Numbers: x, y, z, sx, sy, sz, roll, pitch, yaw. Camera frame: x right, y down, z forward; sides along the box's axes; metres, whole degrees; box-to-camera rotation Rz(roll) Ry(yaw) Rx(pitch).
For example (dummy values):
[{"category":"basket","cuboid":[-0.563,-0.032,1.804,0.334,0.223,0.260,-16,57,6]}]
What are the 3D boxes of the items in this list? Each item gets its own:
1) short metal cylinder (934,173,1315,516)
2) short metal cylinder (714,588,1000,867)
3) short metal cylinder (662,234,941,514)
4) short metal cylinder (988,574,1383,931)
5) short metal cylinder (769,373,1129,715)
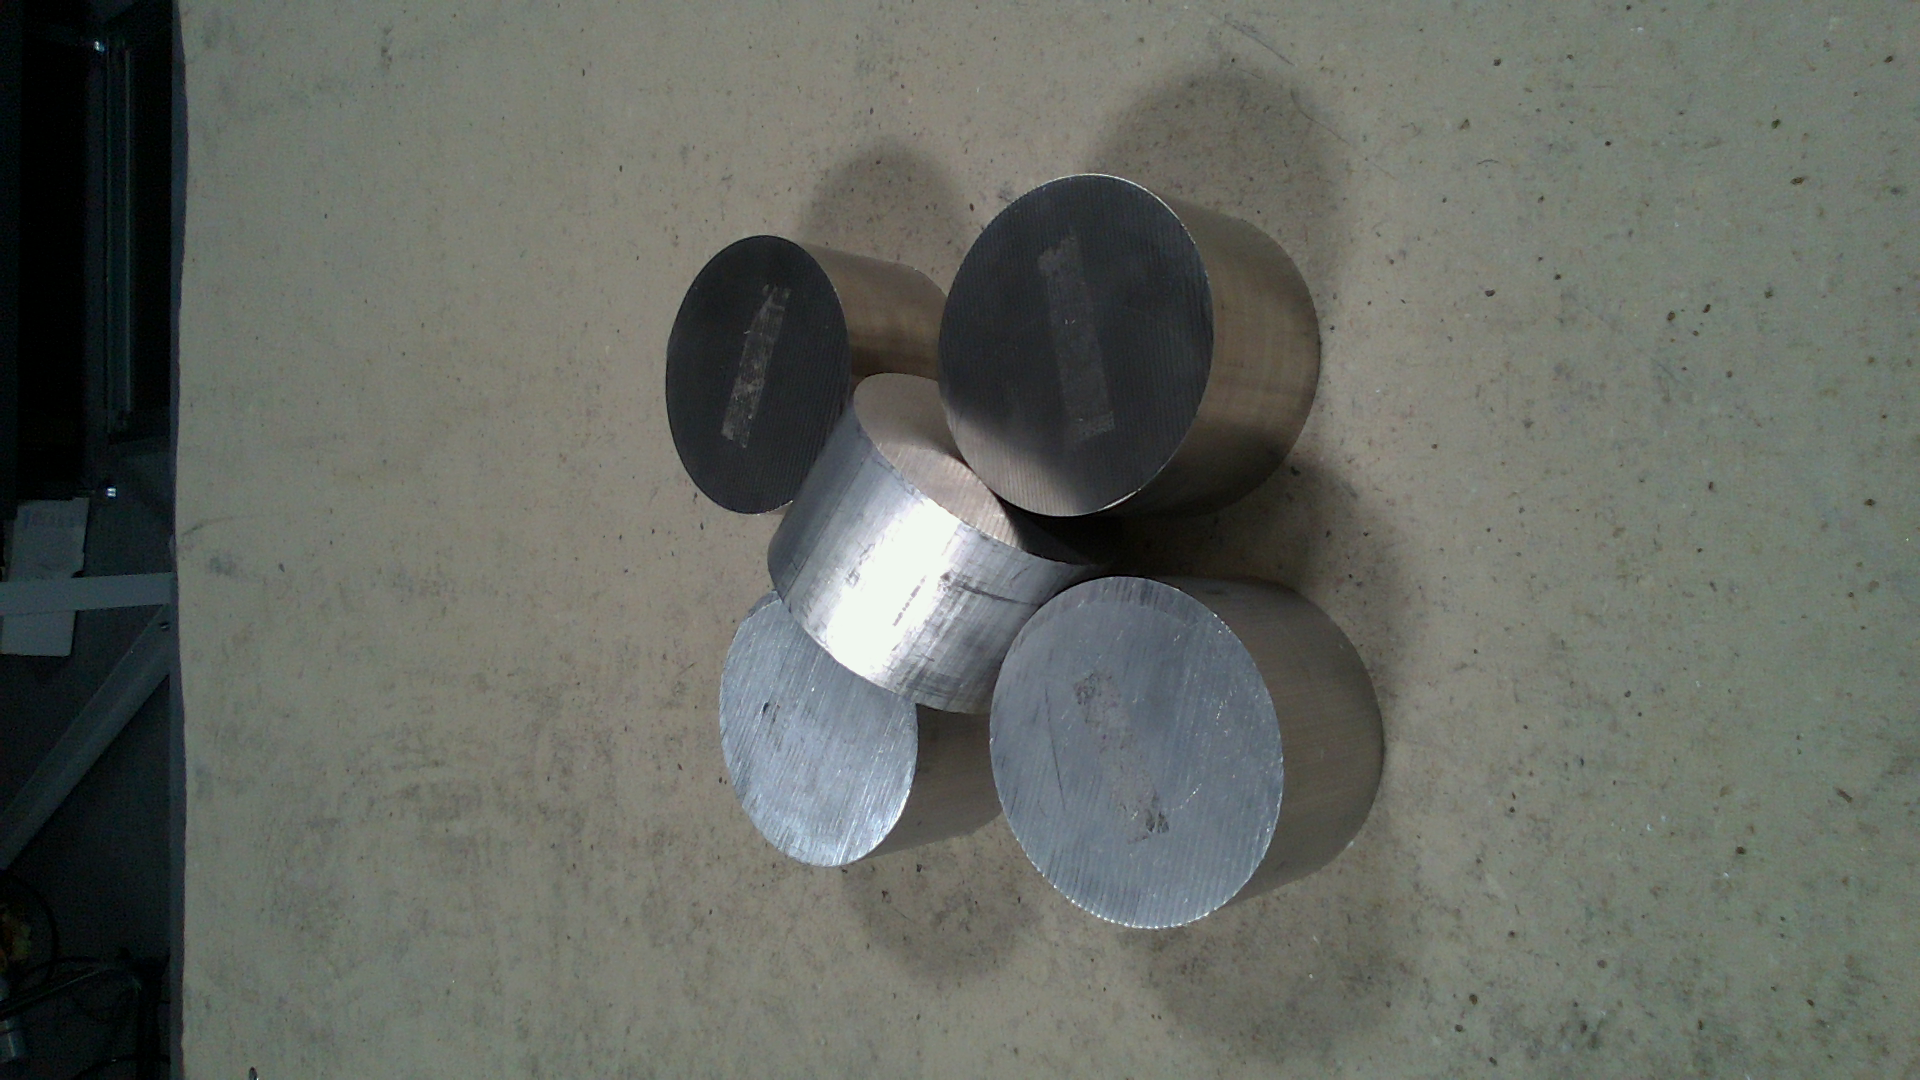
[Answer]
[{"category":"short metal cylinder","cuboid":[0.040,-0.046,0.342,0.080,0.050,0.080,0,90,40]},{"category":"short metal cylinder","cuboid":[-0.026,0.050,0.399,0.080,0.050,0.080,0,90,40]},{"category":"short metal cylinder","cuboid":[-0.044,-0.048,0.415,0.080,0.050,0.080,0,90,40]},{"category":"short metal cylinder","cuboid":[0.054,0.048,0.332,0.080,0.050,0.080,0,90,40]},{"category":"short metal cylinder","cuboid":[-0.003,0.000,0.362,0.080,0.080,0.050,47,118,30]}]
